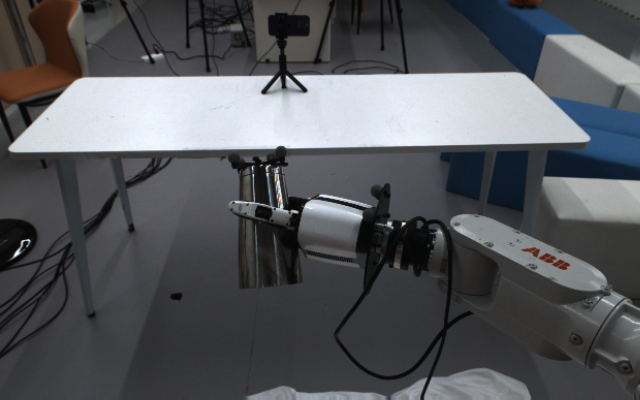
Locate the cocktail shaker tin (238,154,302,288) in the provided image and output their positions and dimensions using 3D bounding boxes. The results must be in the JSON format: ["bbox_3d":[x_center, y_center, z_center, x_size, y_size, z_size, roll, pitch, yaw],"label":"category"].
[{"bbox_3d":[-0.079,0.039,0.705,0.093,0.170,0.093,-6,-7,-1],"label":"cocktail shaker tin"}]
